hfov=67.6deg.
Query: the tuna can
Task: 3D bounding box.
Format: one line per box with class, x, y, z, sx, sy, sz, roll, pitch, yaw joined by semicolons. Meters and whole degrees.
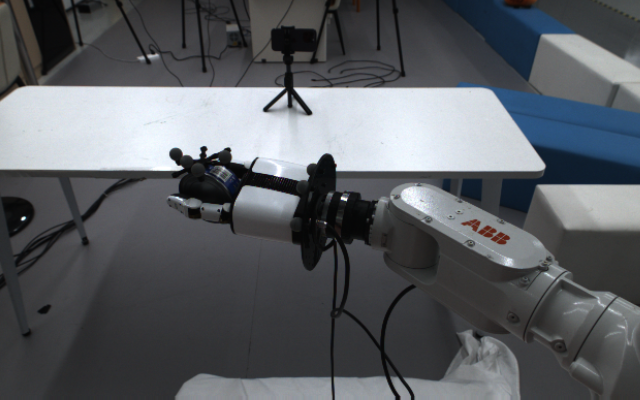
tuna can;-0.150;-0.011;0.677;0.085;0.085;0.034;14;39;16
